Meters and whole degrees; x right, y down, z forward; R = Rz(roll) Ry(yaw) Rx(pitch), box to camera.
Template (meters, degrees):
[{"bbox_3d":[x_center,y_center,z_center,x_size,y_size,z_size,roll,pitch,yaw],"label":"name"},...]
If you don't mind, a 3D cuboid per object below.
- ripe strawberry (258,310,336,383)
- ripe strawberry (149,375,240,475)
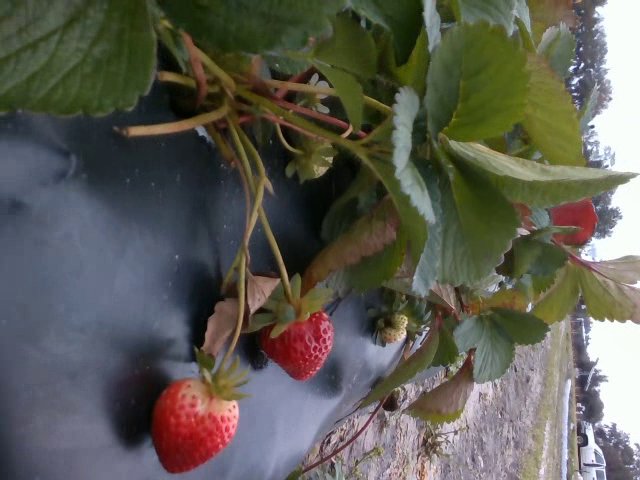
[{"bbox_3d":[-0.009,0.052,0.297,0.044,0.059,0.042,-21,43,-24],"label":"ripe strawberry"},{"bbox_3d":[-0.046,0.074,0.229,0.027,0.041,0.036,32,5,29],"label":"ripe strawberry"}]
